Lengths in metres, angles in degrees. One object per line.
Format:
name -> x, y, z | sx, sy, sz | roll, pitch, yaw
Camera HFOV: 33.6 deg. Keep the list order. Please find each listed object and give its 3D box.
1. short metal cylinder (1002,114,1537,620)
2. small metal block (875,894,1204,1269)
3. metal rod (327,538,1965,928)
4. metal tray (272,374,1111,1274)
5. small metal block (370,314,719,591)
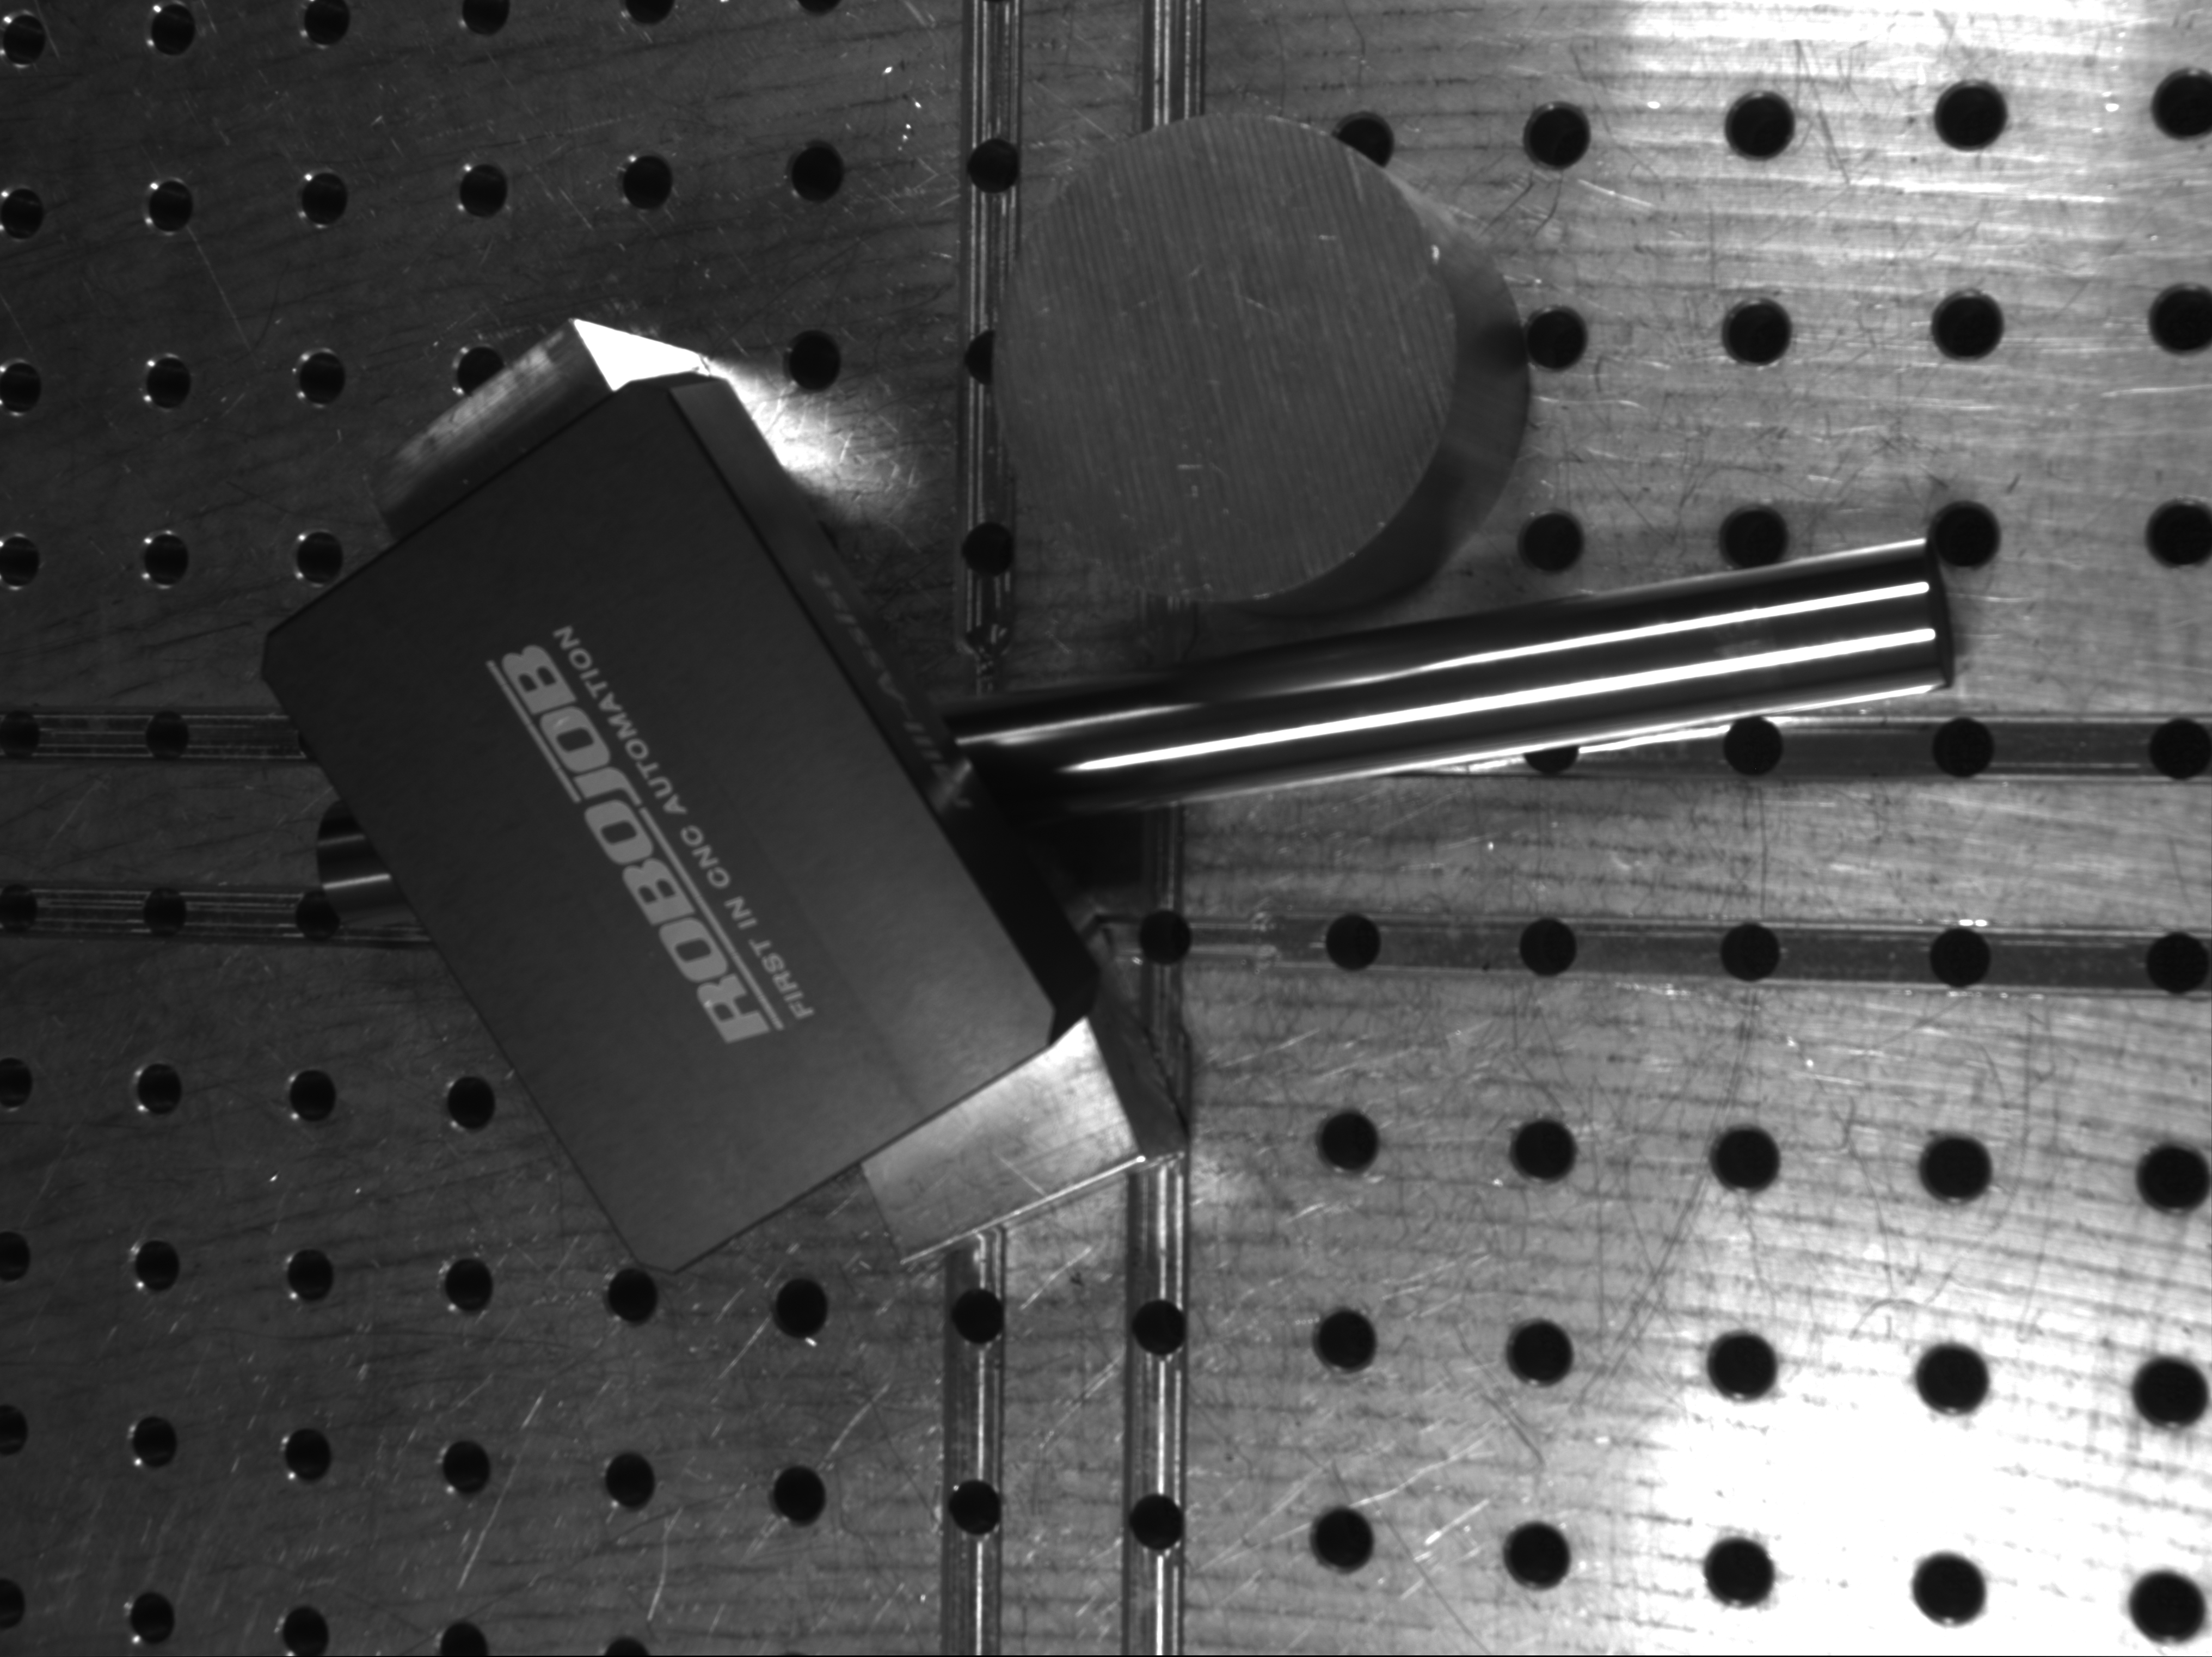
short metal cylinder -> 0.029, -0.077, 0.623 | 0.080, 0.050, 0.080 | 0, 90, 20
small metal block -> -0.018, 0.045, 0.652 | 0.050, 0.025, 0.050 | -25, 82, 18
metal rod -> -0.002, -0.014, 0.648 | 0.300, 0.025, 0.025 | -9, 87, 19
metal tray -> -0.071, -0.001, 0.628 | 0.090, 0.030, 0.130 | -32, 91, 17
small metal block -> -0.097, -0.066, 0.668 | 0.050, 0.050, 0.025 | -33, 79, 17
